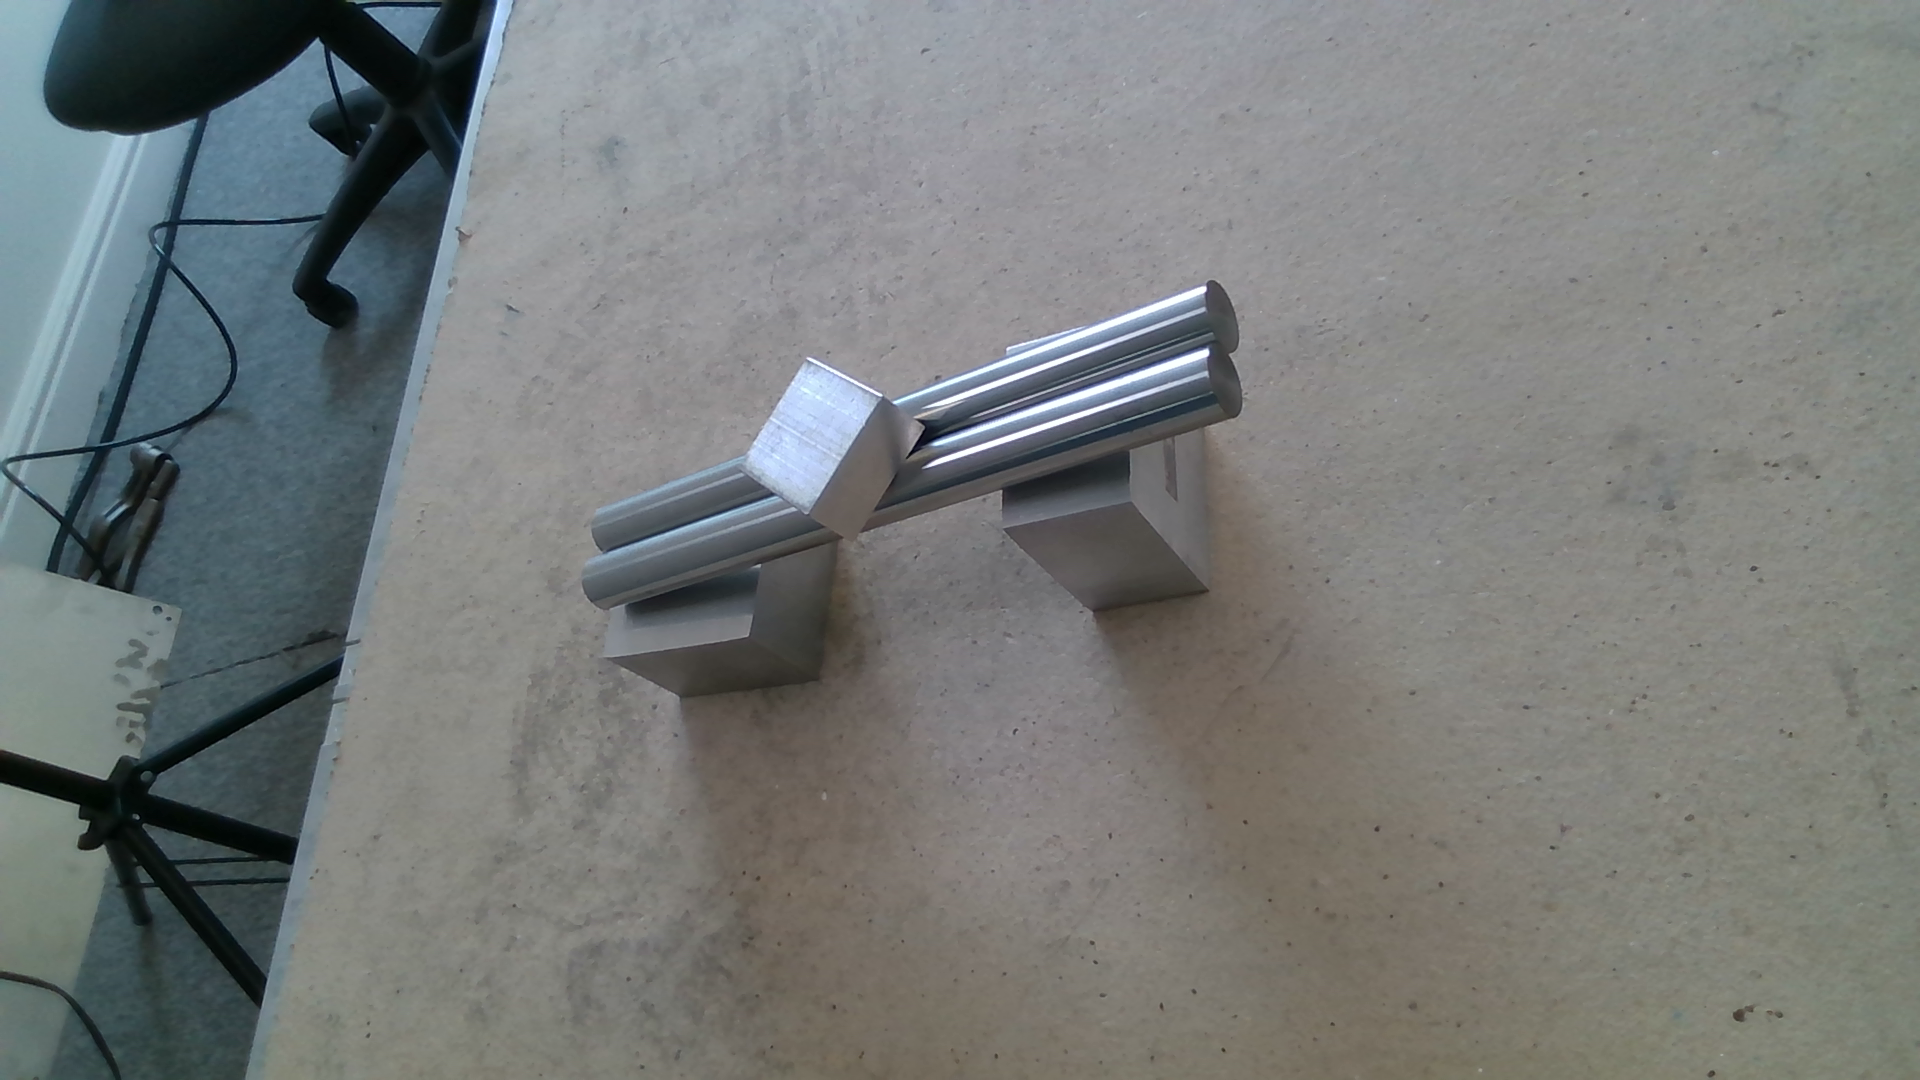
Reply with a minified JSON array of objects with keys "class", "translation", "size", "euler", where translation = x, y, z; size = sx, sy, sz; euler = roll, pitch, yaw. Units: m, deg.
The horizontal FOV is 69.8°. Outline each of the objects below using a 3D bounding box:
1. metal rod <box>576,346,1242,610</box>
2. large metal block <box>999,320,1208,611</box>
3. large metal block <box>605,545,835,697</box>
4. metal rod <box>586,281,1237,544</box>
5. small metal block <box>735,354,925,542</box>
[{"class":"metal rod","translation":[-0.037,-0.016,0.523],"size":[0.300,0.025,0.025],"euler":[-16,58,33]},{"class":"large metal block","translation":[0.057,-0.028,0.531],"size":[0.050,0.080,0.080],"euler":[-11,60,27]},{"class":"large metal block","translation":[-0.106,0.021,0.623],"size":[0.080,0.050,0.080],"euler":[-10,61,27]},{"class":"metal rod","translation":[-0.036,-0.039,0.535],"size":[0.300,0.025,0.025],"euler":[-16,58,33]},{"class":"small metal block","translation":[-0.048,-0.035,0.508],"size":[0.050,0.025,0.050],"euler":[31,89,44]}]
